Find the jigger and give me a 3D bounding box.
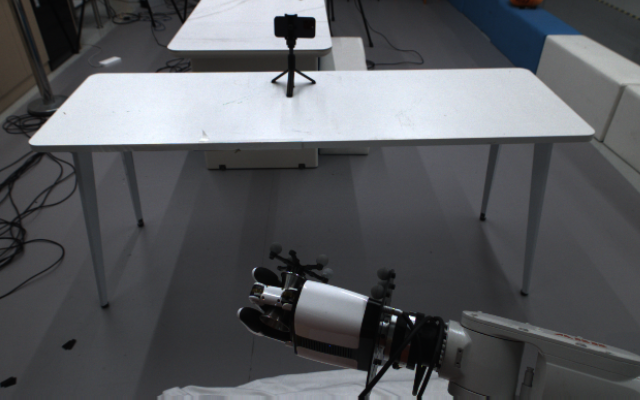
[{"bbox_3d":[-0.043,0.133,0.640,0.043,0.043,0.071,13,58,16],"label":"jigger"}]
